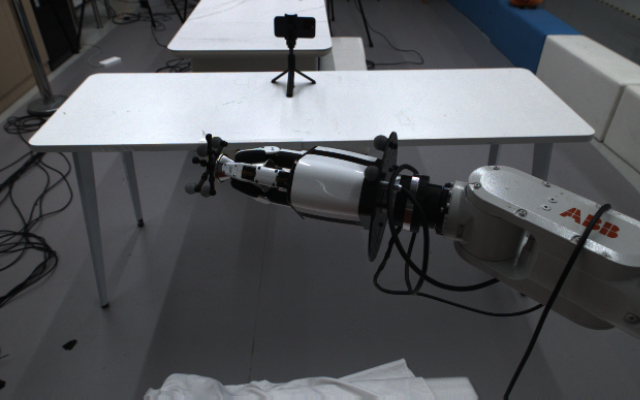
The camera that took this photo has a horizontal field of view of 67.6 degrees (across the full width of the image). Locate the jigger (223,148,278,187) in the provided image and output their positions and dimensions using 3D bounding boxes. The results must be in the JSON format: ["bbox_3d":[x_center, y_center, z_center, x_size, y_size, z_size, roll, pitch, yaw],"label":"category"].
[{"bbox_3d":[-0.096,-0.041,0.636,0.071,0.043,0.043,10,35,16],"label":"jigger"}]
